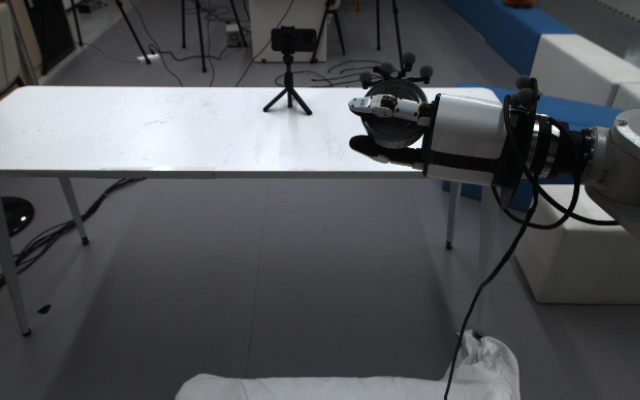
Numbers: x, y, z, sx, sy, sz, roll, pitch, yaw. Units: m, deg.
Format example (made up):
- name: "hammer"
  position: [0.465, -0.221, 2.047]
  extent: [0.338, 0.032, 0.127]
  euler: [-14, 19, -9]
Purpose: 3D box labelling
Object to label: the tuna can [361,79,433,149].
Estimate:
- name: "tuna can"
  position: [0.097, -0.111, 0.627]
  extent: [0.085, 0.034, 0.085]
  euler: [-4, 73, 14]
